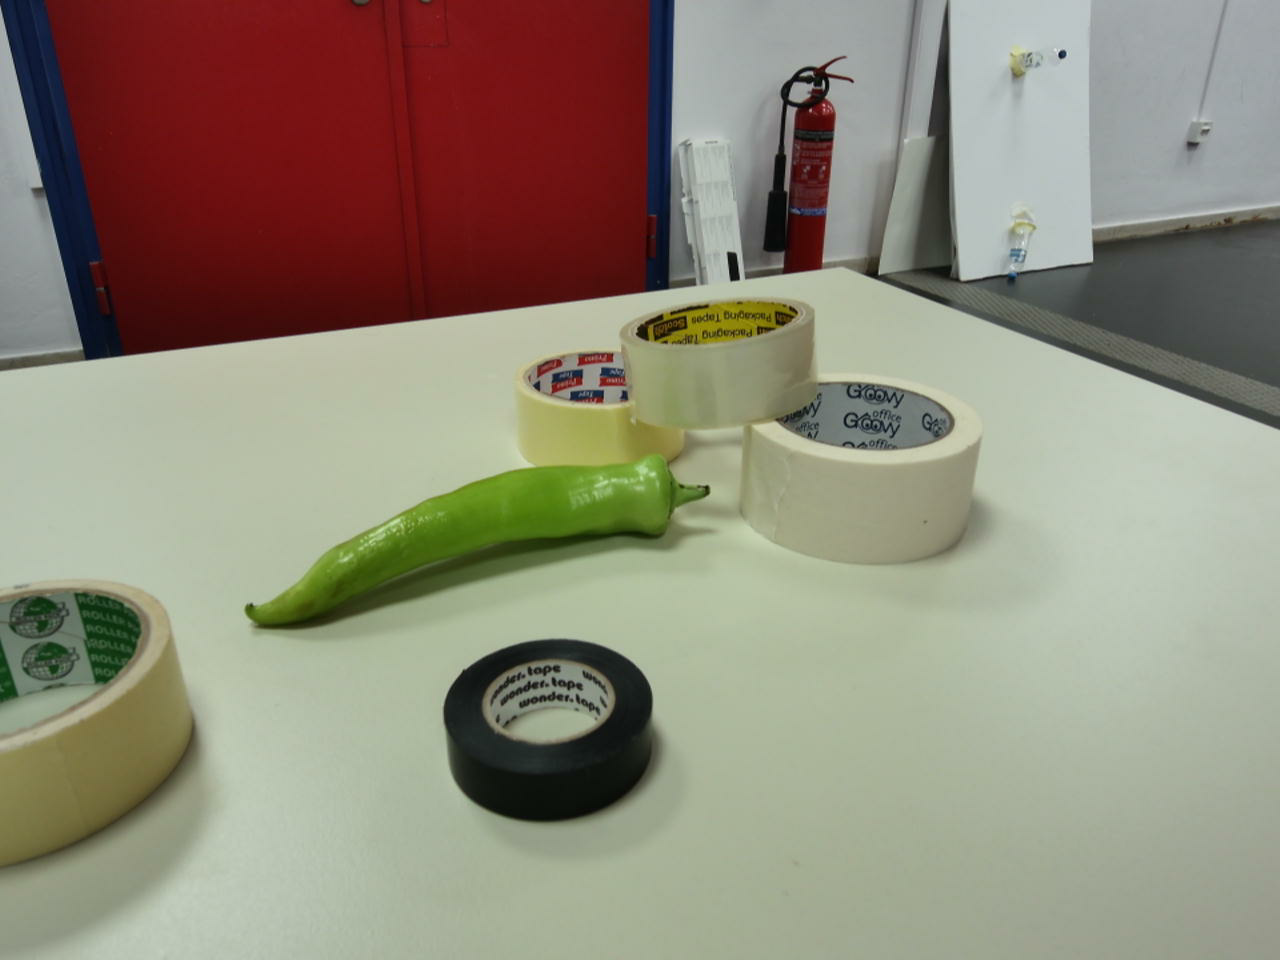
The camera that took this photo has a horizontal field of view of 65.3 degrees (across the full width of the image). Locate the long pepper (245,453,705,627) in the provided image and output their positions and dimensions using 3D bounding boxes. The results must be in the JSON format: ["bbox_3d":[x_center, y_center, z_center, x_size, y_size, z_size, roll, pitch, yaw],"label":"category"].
[{"bbox_3d":[-0.065,0.018,0.420,0.197,0.038,0.047,-10,26,-22],"label":"long pepper"}]
